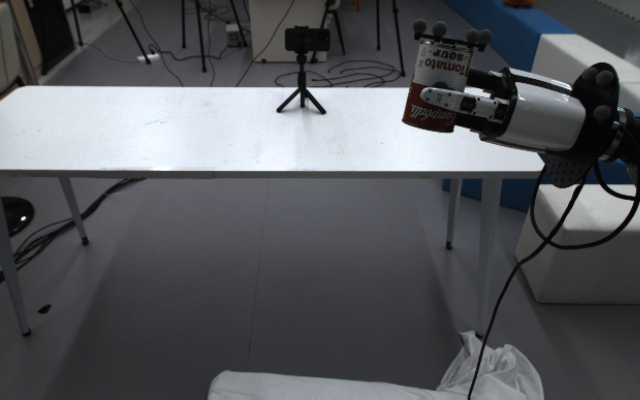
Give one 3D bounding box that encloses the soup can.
[{"bbox_3d":[0.148,-0.144,0.609,0.067,0.101,0.067,9,20,-3],"label":"soup can"}]
